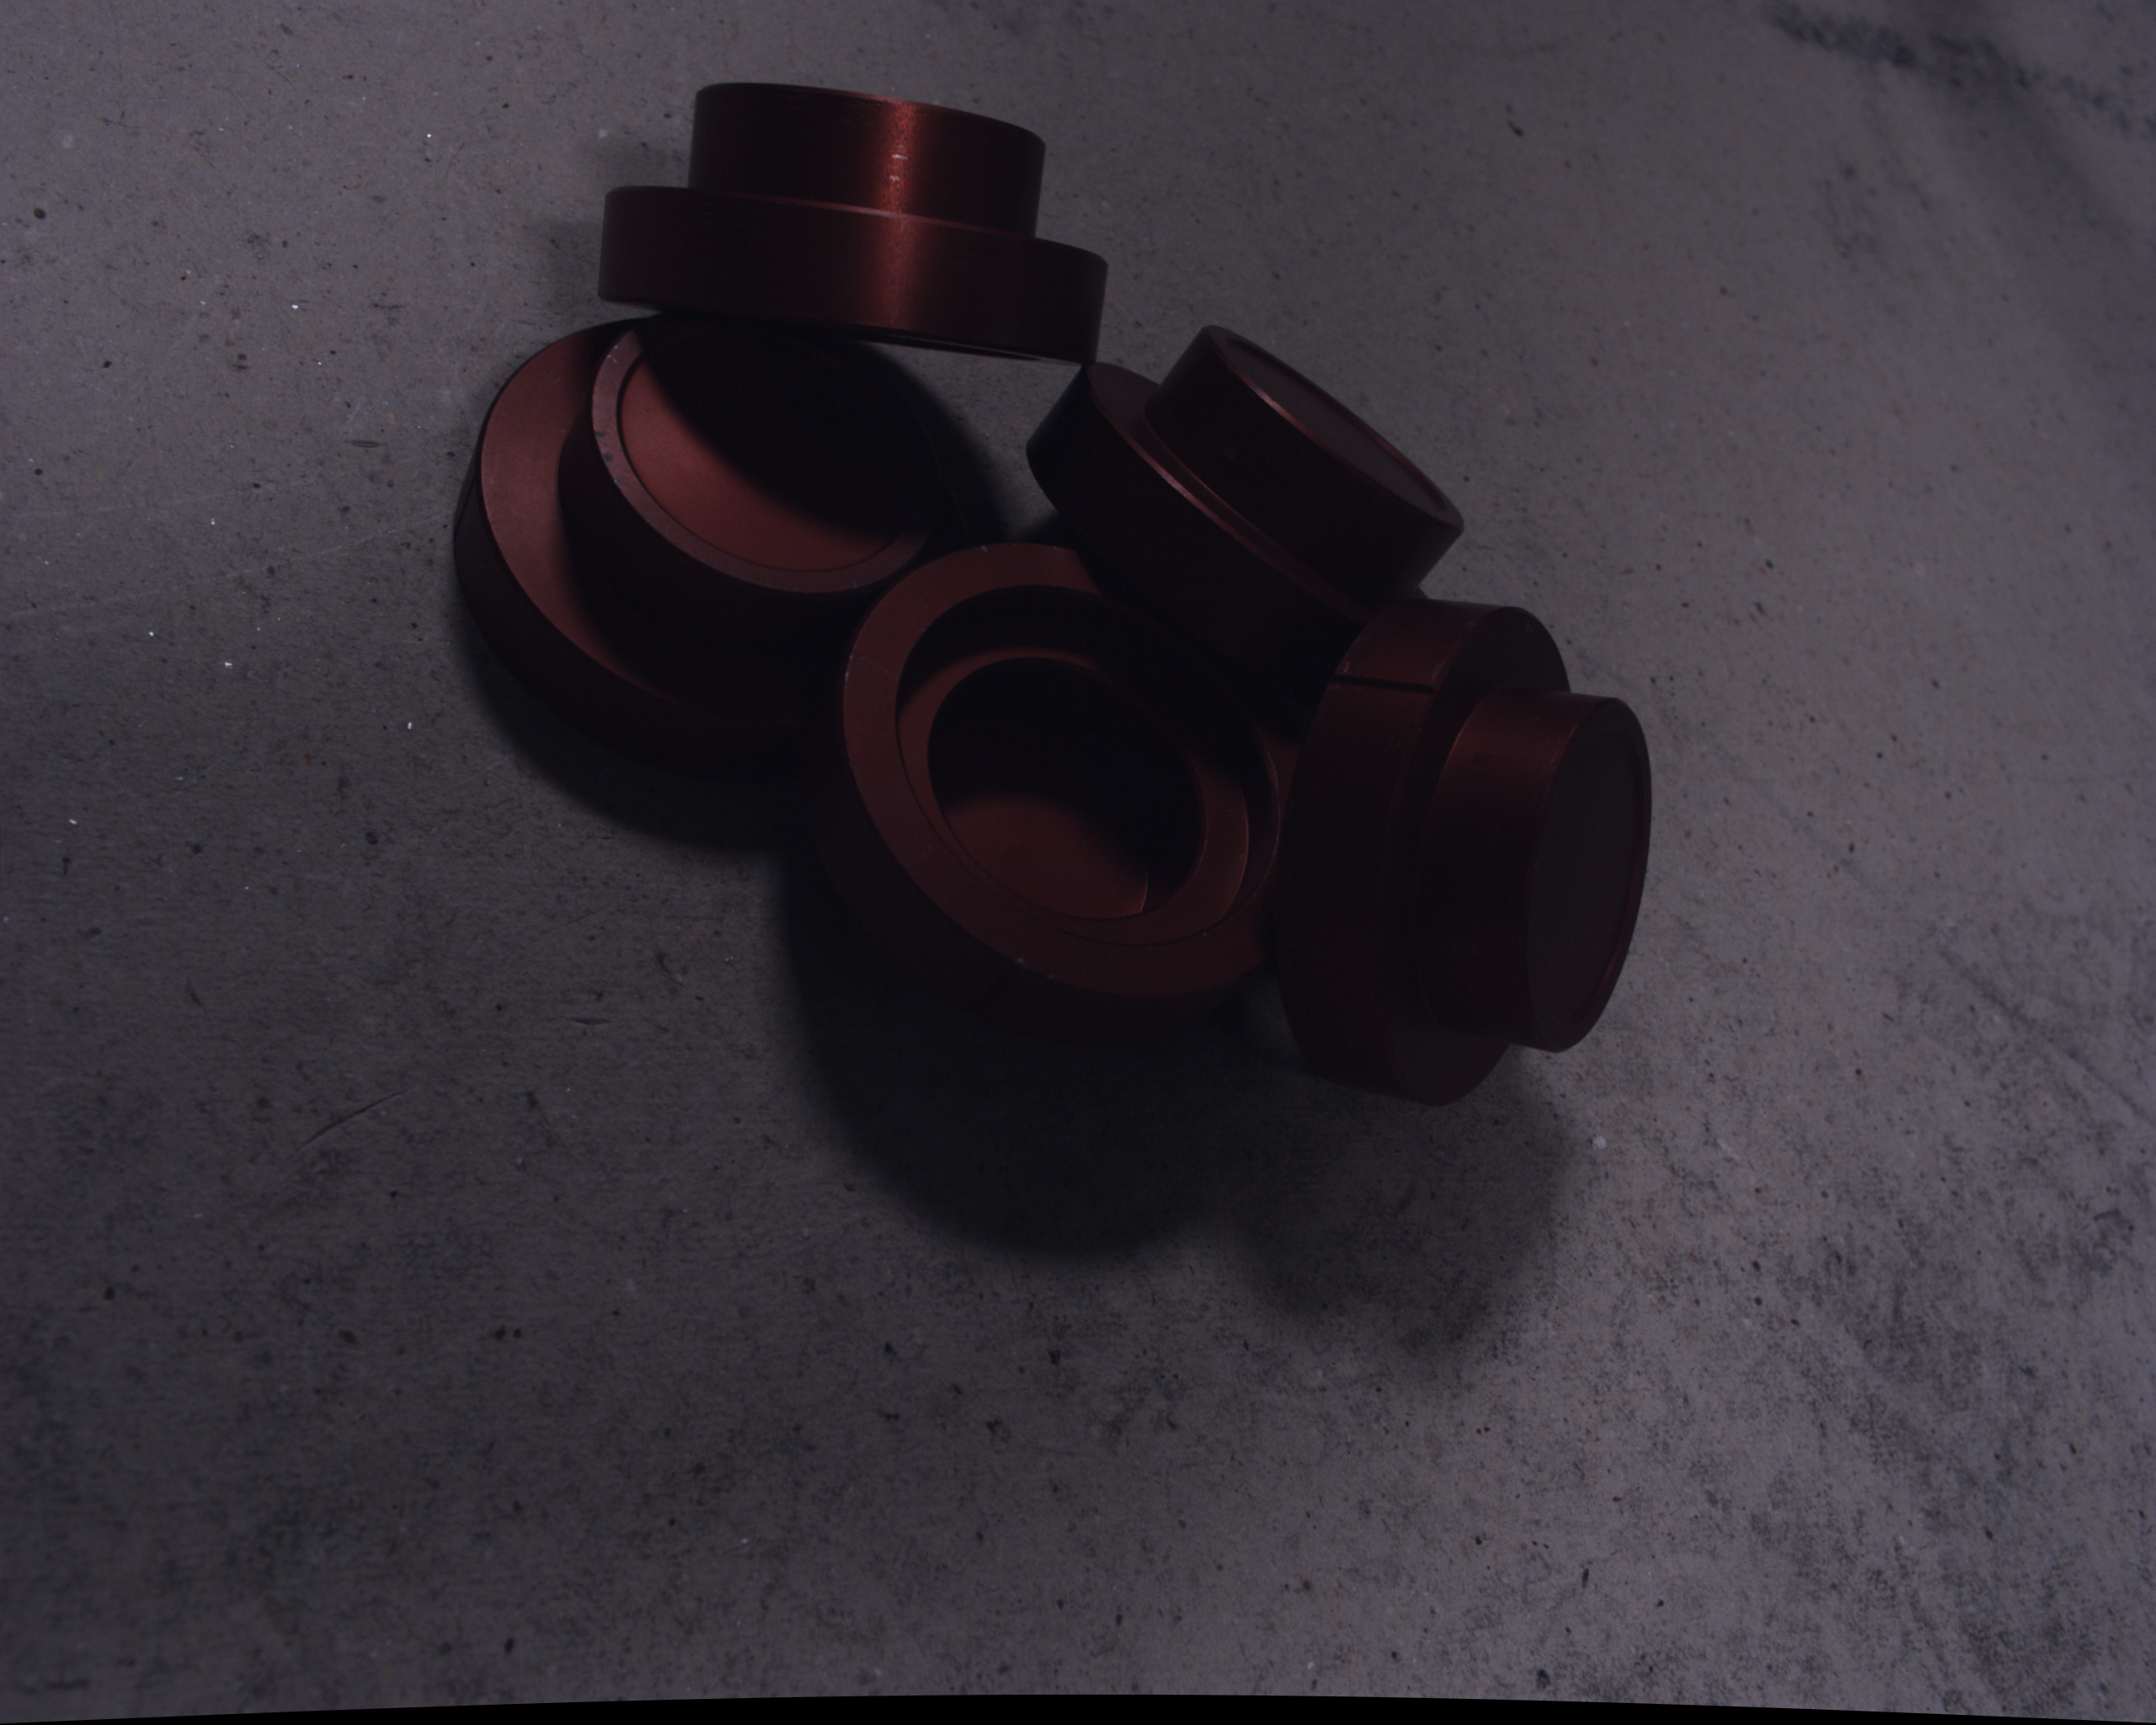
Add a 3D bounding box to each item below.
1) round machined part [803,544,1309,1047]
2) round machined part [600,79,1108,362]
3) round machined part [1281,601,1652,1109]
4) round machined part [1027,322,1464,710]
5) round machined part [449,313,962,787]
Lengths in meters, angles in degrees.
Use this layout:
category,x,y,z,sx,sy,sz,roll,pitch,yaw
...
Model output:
category,x,y,z,sx,sy,sz,roll,pitch,yaw
round machined part,-0.006,-0.009,0.398,0.099,0.042,0.098,14,56,-21
round machined part,-0.043,-0.126,0.412,0.099,0.098,0.042,1,103,-28
round machined part,0.080,0.000,0.404,0.042,0.097,0.098,12,44,29
round machined part,0.041,-0.075,0.436,0.098,0.042,0.098,33,21,-14
round machined part,-0.067,-0.067,0.402,0.099,0.042,0.098,14,56,-21
